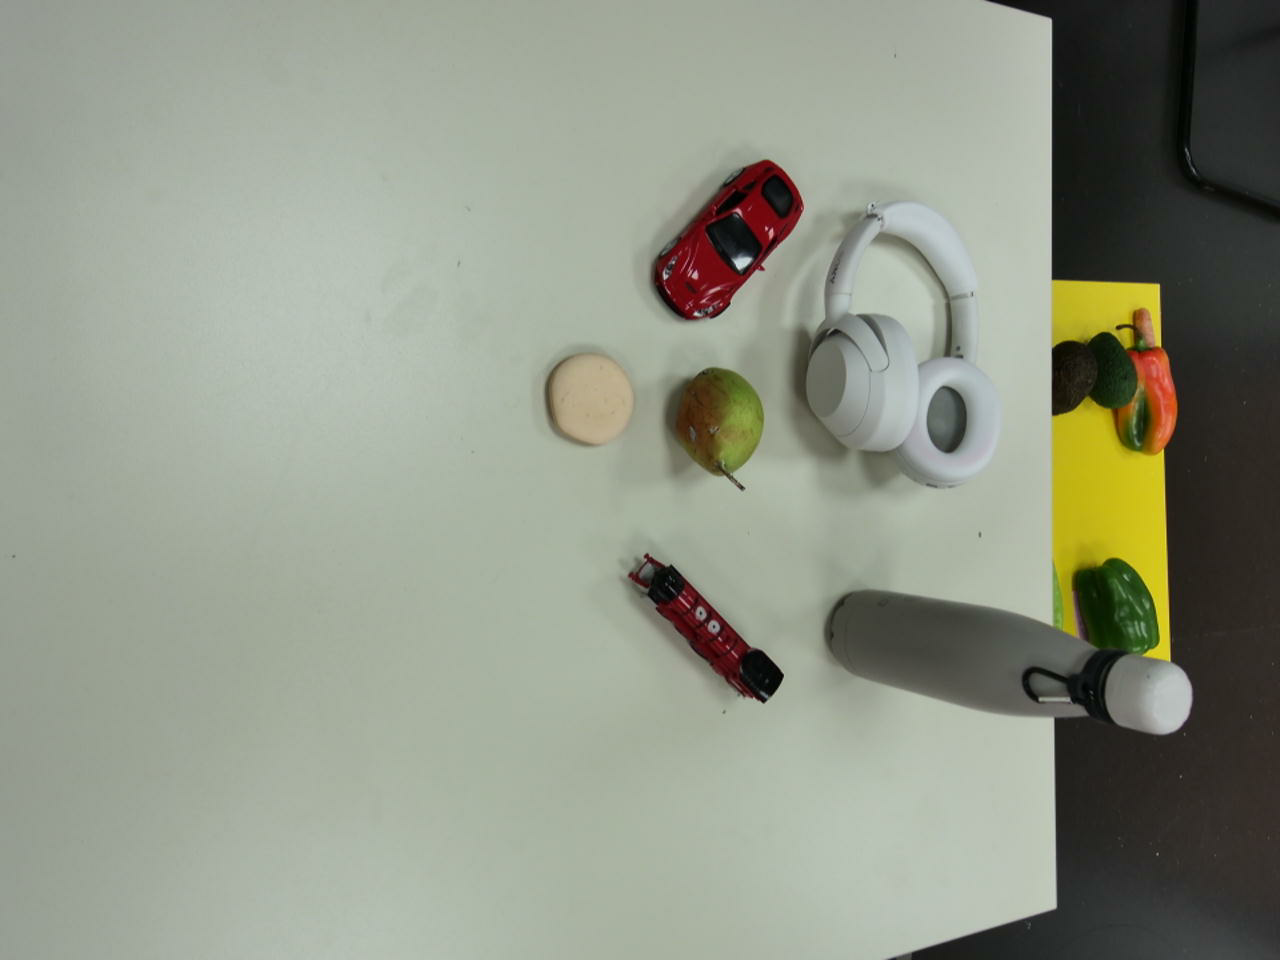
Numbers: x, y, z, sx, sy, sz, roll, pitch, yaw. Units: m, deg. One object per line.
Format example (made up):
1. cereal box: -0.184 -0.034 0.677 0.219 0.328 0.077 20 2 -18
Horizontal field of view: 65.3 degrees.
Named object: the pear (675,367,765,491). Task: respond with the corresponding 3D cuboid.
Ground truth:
1. pear: 0.056 -0.041 0.699 0.070 0.069 0.068 -44 109 -21
